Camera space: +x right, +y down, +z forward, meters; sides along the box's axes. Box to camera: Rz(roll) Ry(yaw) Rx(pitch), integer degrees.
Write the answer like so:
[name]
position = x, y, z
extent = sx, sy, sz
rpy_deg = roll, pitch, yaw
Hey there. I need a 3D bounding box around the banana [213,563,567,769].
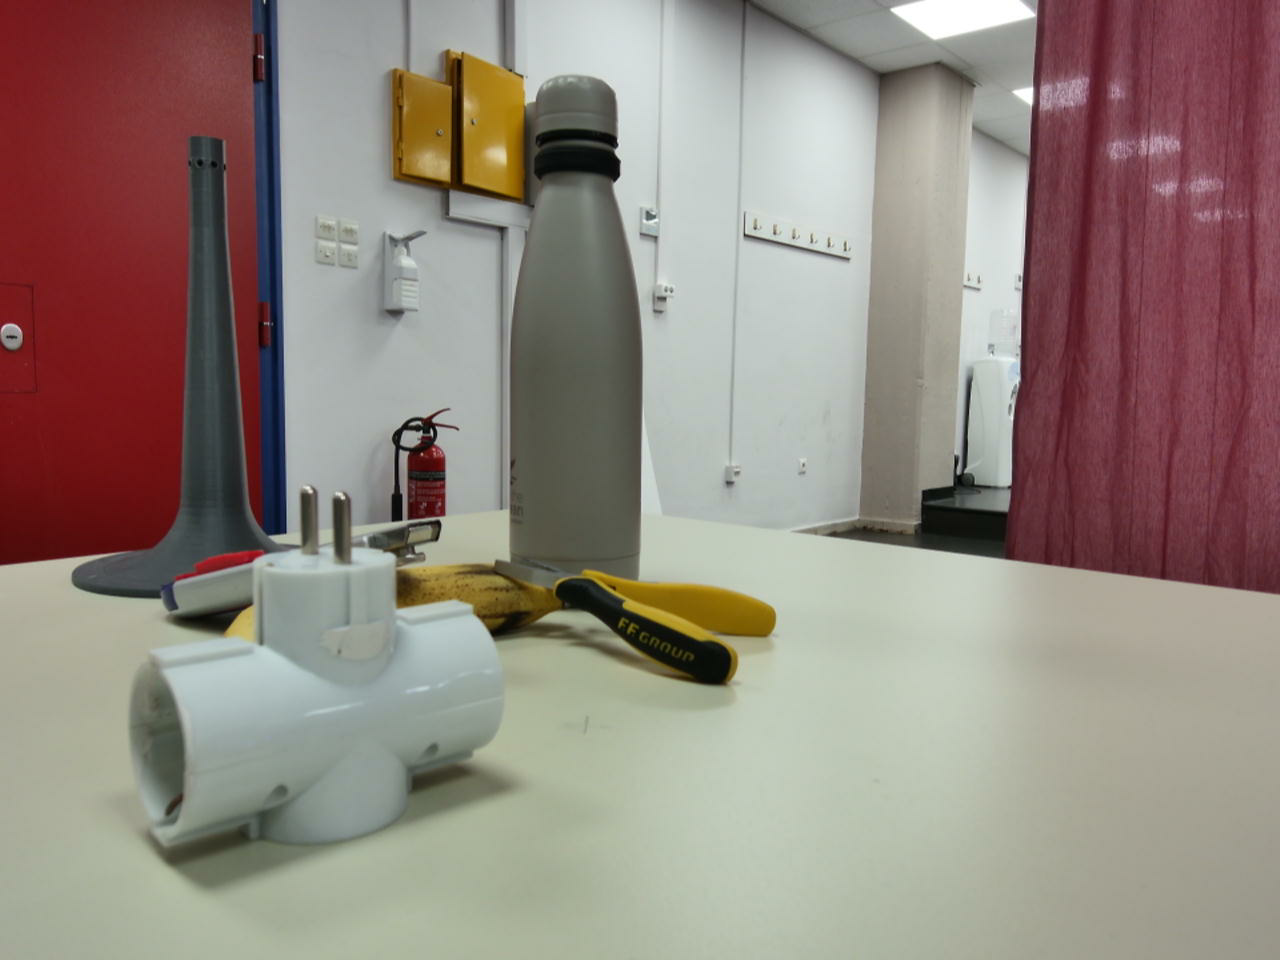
[banana]
position = -0.103, 0.061, 0.405
extent = 0.097, 0.038, 0.186
rpy_deg = 1, 4, 12
